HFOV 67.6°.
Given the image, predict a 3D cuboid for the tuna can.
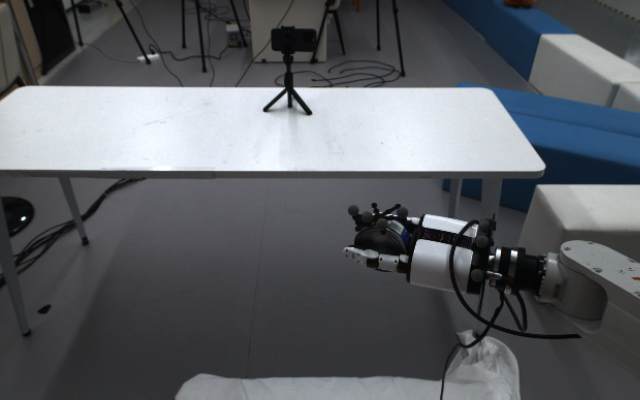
[{"bbox_3d":[0.101,0.067,0.757,0.085,0.085,0.034,17,36,20],"label":"tuna can"}]
